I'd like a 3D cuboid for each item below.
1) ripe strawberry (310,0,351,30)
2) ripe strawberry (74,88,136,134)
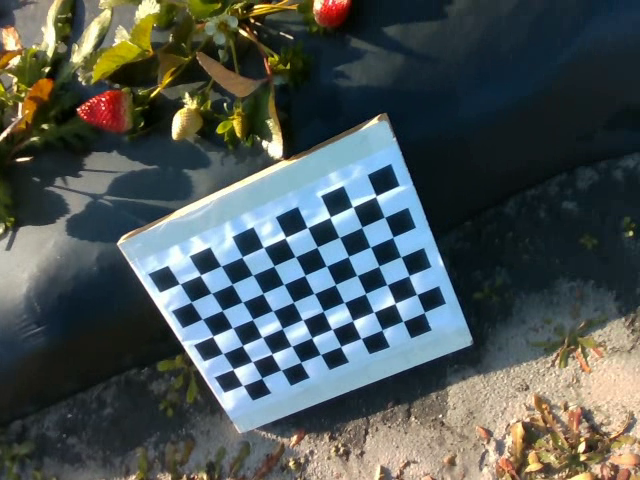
[{"bbox_3d":[0.010,-0.180,0.435,0.037,0.042,0.045,46,-15,-18],"label":"ripe strawberry"},{"bbox_3d":[-0.185,-0.111,0.466,0.053,0.044,0.036,-1,23,-10],"label":"ripe strawberry"}]
